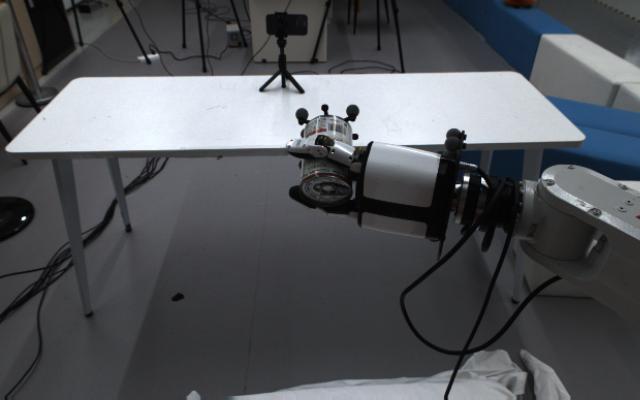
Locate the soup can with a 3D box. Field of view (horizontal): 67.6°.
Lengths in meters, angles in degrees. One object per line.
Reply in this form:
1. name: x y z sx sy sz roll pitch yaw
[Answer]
1. soup can: 0.010 -0.052 0.626 0.067 0.067 0.101 3 56 1
